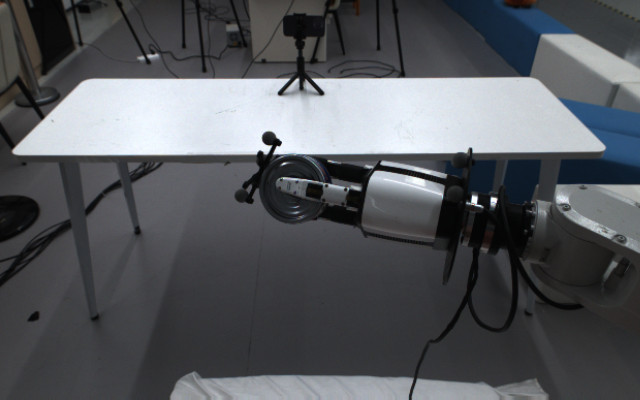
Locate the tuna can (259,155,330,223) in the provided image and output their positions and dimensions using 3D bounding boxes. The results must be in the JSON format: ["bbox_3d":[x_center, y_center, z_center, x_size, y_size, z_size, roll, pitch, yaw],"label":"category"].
[{"bbox_3d":[-0.026,-0.011,0.590,0.085,0.085,0.034,8,5,9],"label":"tuna can"}]
